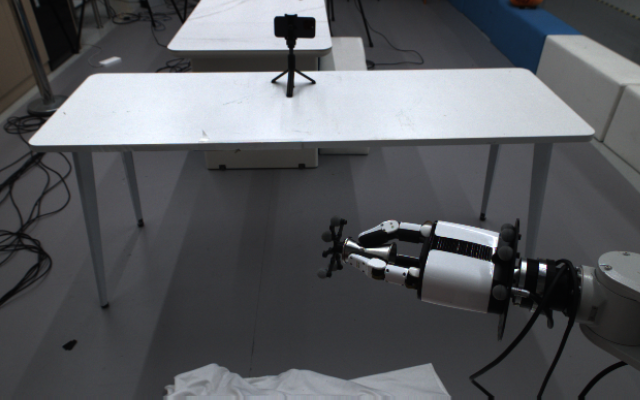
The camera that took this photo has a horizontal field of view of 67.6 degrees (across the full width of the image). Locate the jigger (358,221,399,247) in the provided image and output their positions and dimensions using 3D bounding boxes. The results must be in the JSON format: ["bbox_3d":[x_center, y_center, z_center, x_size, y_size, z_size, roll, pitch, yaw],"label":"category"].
[{"bbox_3d":[0.076,0.072,0.684,0.071,0.043,0.043,8,34,23],"label":"jigger"}]
